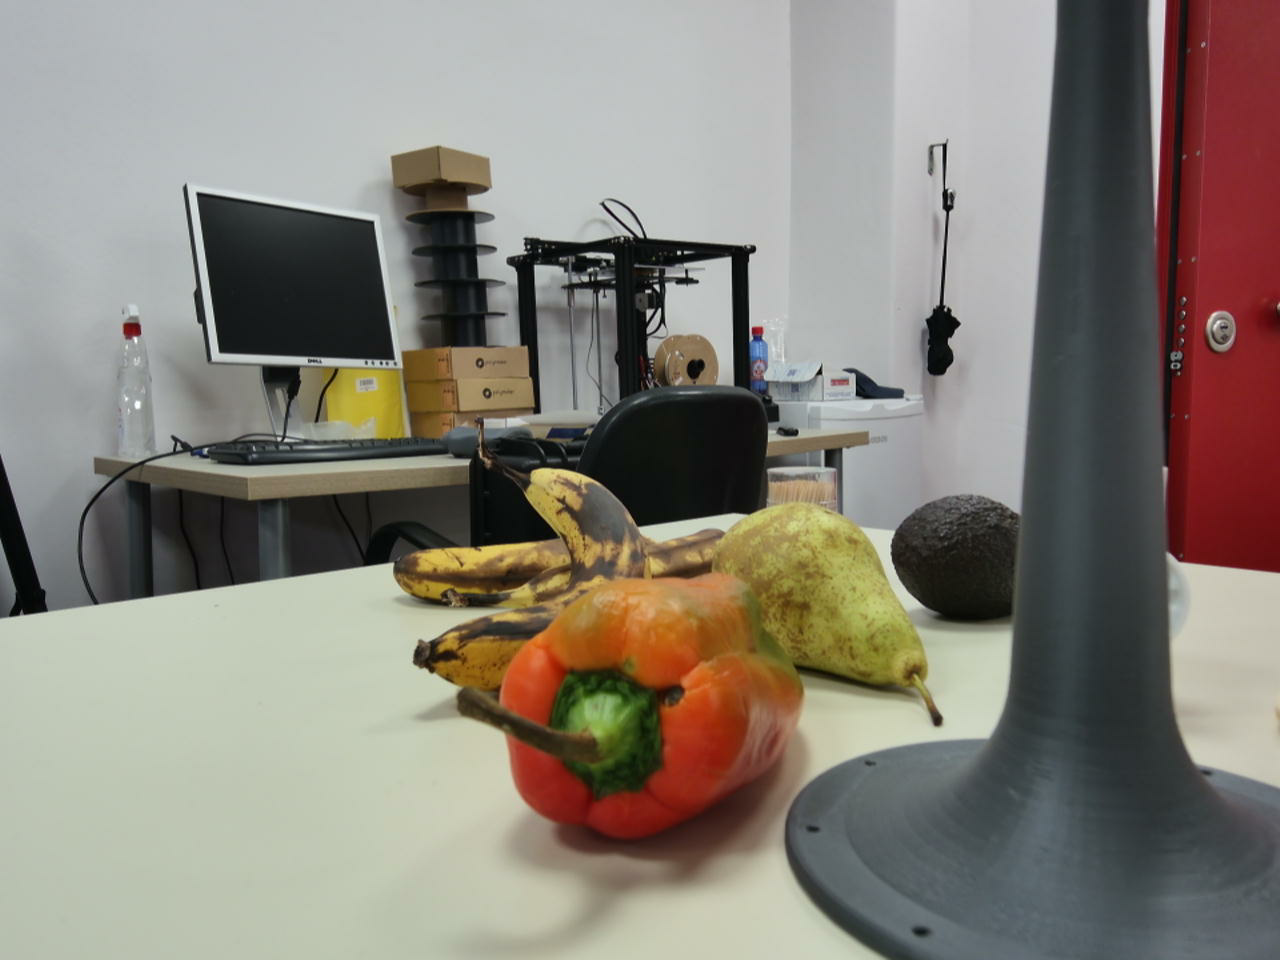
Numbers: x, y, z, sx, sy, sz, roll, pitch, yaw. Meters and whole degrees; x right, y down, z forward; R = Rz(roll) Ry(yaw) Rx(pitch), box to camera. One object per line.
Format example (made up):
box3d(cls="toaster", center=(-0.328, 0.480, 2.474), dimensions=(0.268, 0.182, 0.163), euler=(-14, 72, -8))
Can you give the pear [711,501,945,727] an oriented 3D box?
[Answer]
box3d(cls="pear", center=(0.087, 0.050, 0.439), dimensions=(0.128, 0.075, 0.071), euler=(4, 4, 41))
